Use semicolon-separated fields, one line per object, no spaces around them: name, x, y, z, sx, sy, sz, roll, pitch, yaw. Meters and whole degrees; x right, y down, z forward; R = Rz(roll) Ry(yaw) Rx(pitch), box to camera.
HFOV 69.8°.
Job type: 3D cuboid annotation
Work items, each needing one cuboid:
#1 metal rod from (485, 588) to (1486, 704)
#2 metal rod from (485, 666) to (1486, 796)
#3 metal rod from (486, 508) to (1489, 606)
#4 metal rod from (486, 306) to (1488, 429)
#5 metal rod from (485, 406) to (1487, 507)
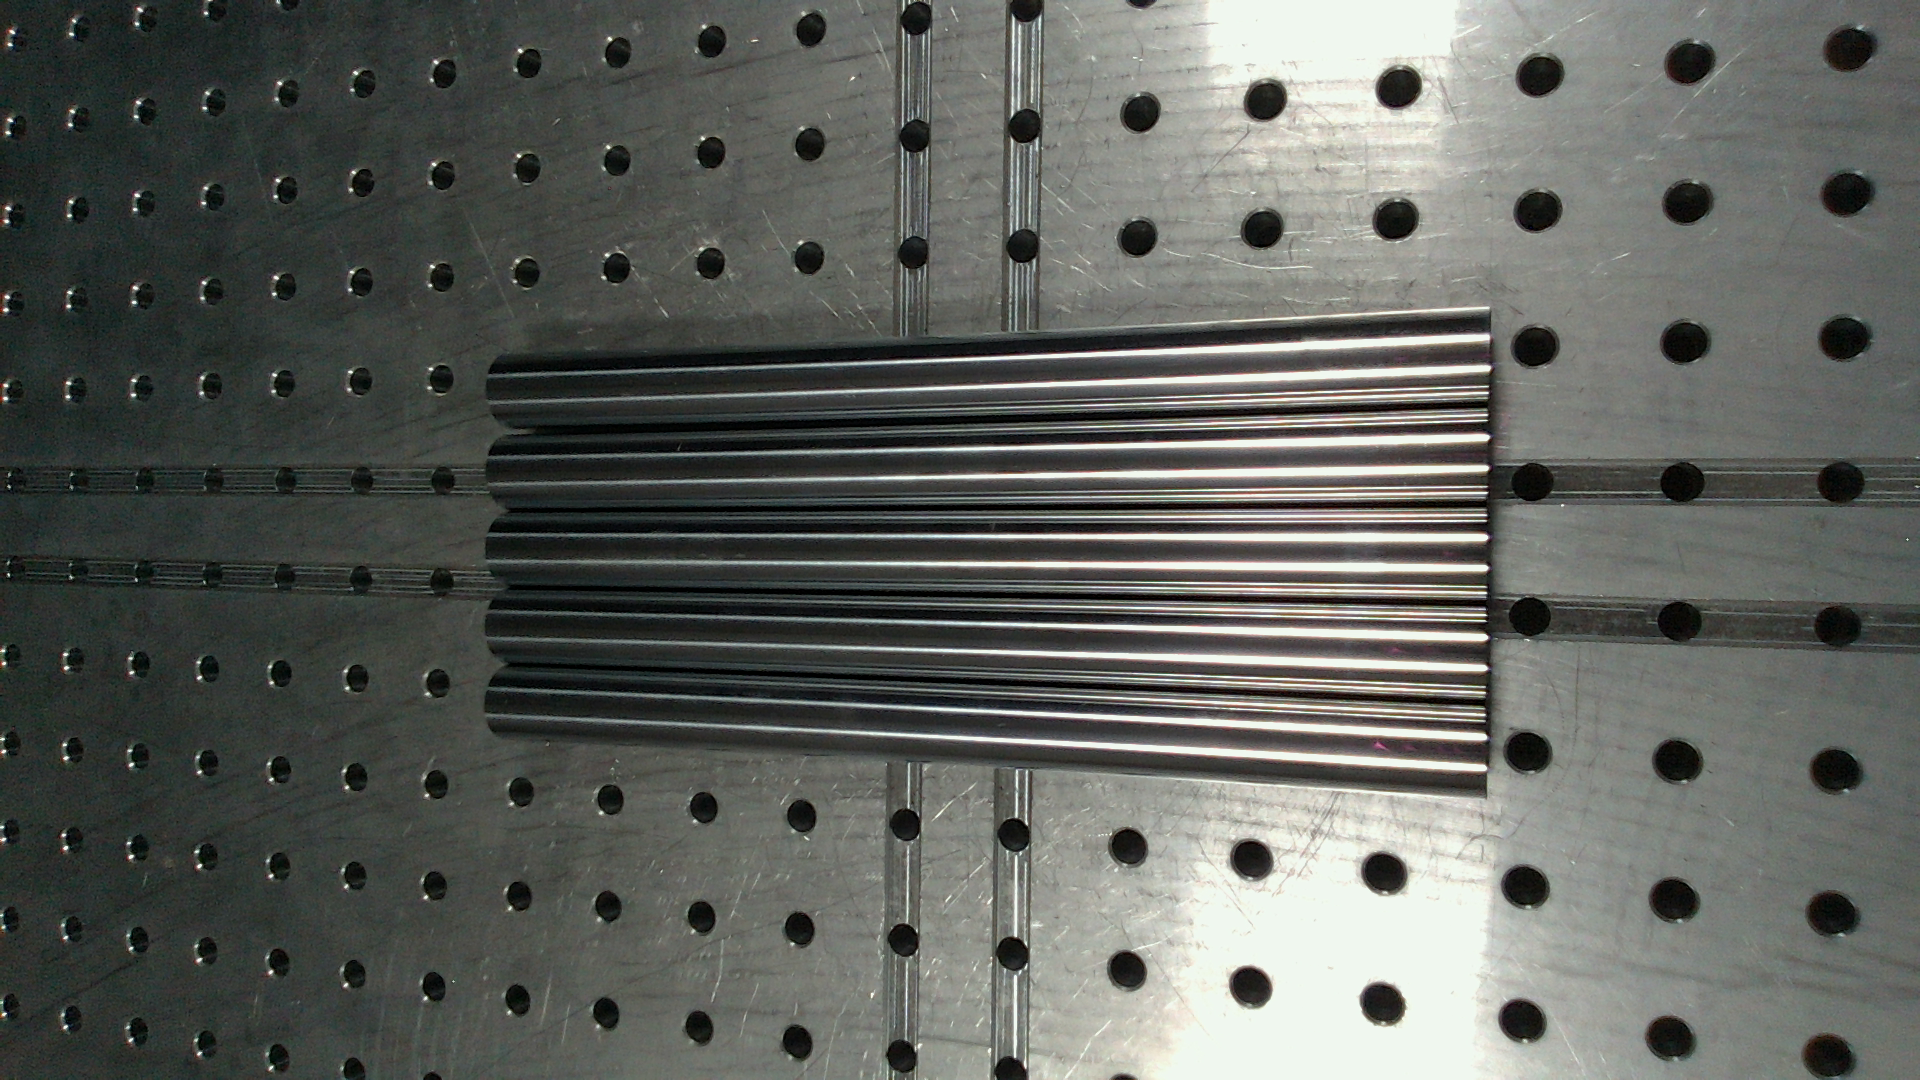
metal rod;-0.007;0.029;0.401;0.299;0.025;0.025;0;90;20
metal rod;-0.007;0.053;0.401;0.299;0.025;0.025;0;90;20
metal rod;-0.006;0.004;0.400;0.299;0.025;0.025;0;90;20
metal rod;-0.006;-0.048;0.401;0.299;0.025;0.025;0;90;20
metal rod;-0.007;-0.022;0.401;0.299;0.025;0.025;0;90;20
